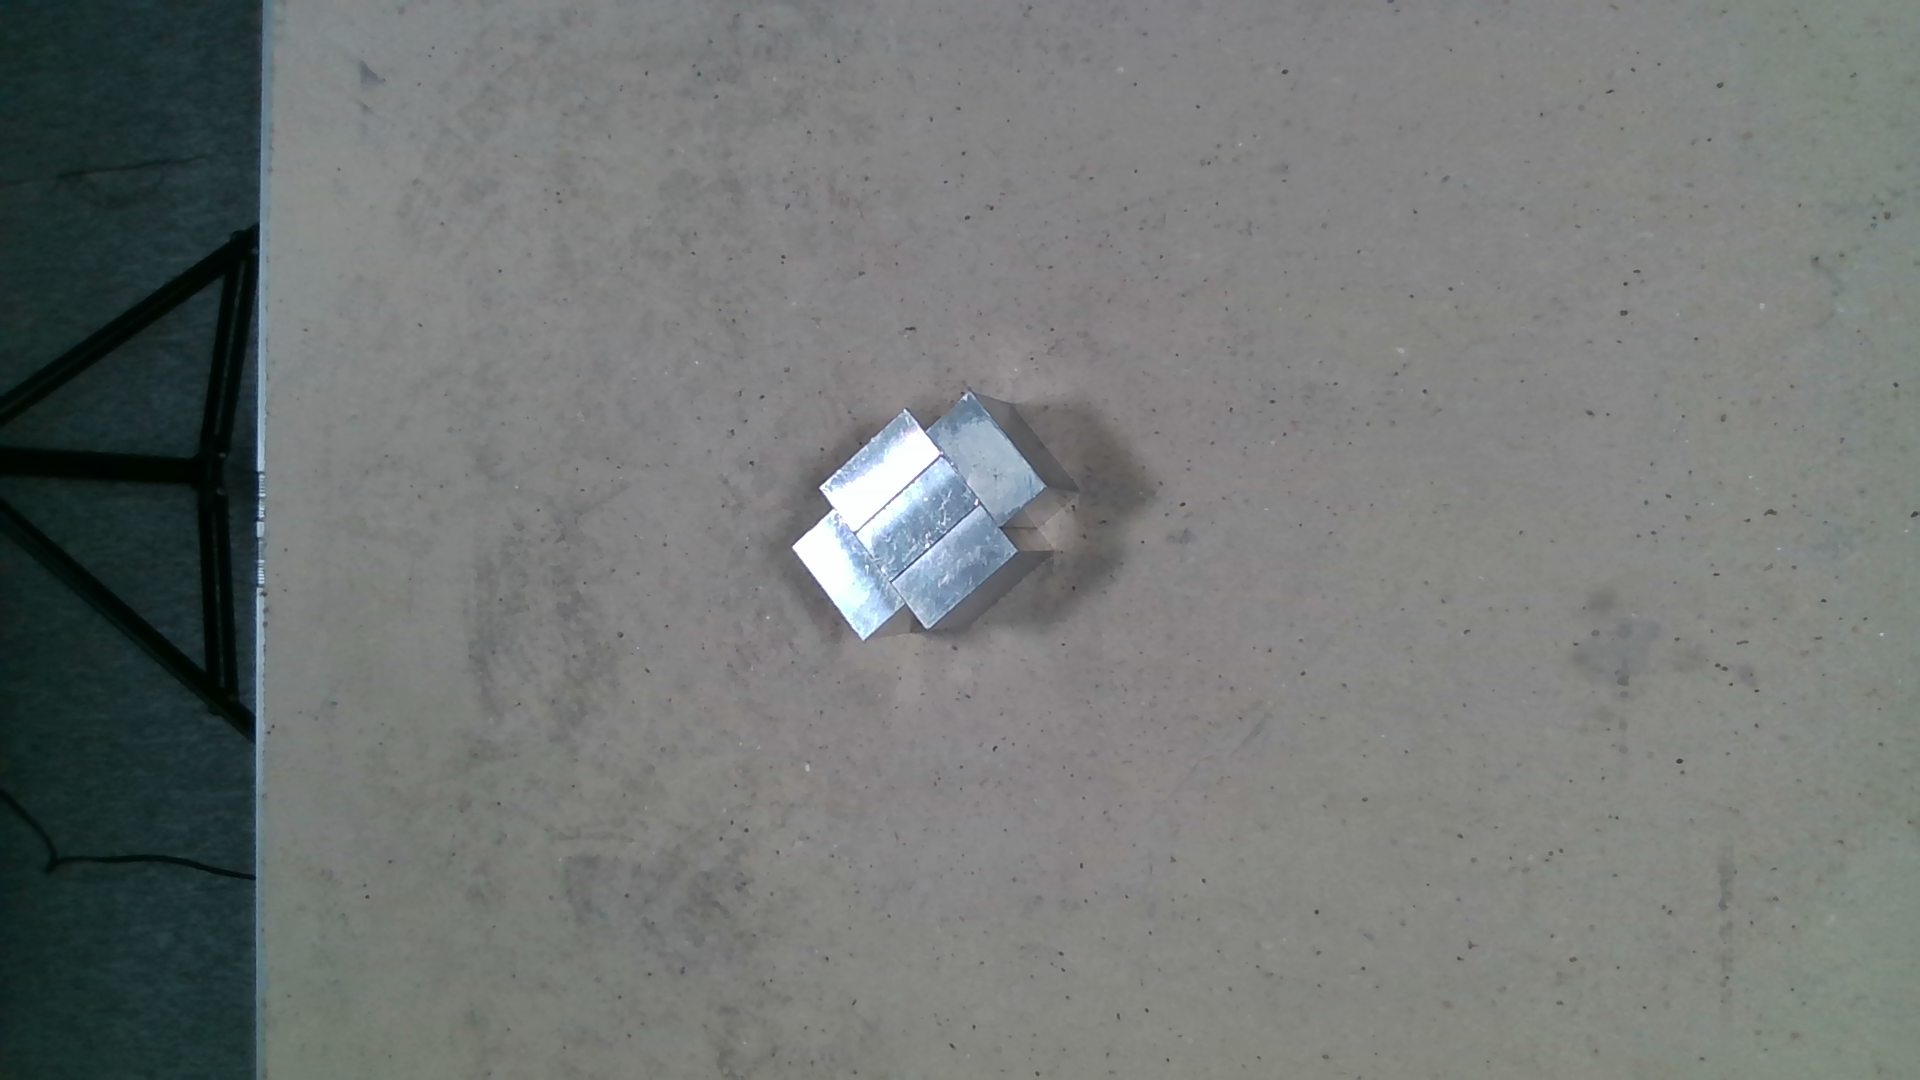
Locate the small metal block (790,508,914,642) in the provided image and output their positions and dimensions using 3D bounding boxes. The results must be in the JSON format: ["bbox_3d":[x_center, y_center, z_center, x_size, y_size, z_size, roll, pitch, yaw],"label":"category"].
[{"bbox_3d":[-0.038,0.014,0.586,0.025,0.050,0.050,-41,77,16],"label":"small metal block"}]

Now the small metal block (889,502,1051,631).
[{"bbox_3d":[0.005,0.011,0.570,0.050,0.050,0.025,-43,77,15],"label":"small metal block"}]

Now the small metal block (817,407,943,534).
[{"bbox_3d":[-0.025,-0.028,0.581,0.050,0.050,0.025,-42,77,16],"label":"small metal block"}]

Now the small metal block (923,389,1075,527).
[{"bbox_3d":[0.018,-0.032,0.565,0.025,0.050,0.050,-41,77,16],"label":"small metal block"}]

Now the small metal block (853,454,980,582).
[{"bbox_3d":[-0.010,-0.009,0.575,0.050,0.050,0.025,-42,77,16],"label":"small metal block"}]
